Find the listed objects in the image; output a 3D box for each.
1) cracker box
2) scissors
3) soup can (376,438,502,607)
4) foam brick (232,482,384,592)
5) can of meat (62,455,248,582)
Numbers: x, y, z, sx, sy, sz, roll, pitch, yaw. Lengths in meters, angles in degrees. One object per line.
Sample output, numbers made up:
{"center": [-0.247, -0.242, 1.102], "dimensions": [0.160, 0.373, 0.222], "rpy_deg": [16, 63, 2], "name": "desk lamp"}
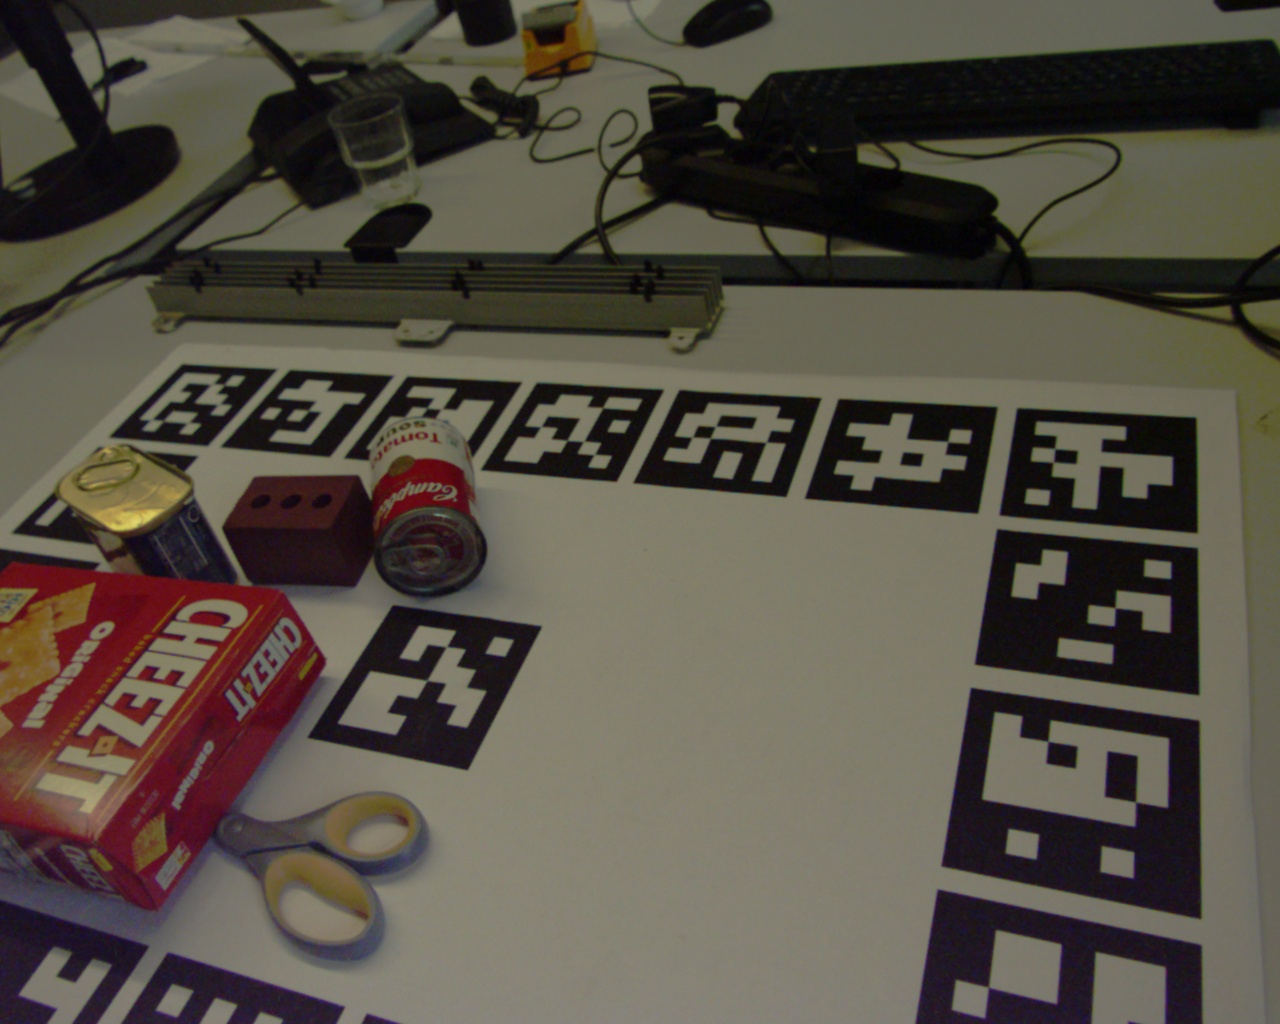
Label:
{"center": [-0.317, 0.116, 0.647], "dimensions": [0.216, 0.071, 0.164], "rpy_deg": [-2, 44, 21], "name": "cracker box"}
{"center": [-0.214, 0.173, 0.602], "dimensions": [0.204, 0.016, 0.087], "rpy_deg": [1, 46, 19], "name": "scissors"}
{"center": [-0.134, 0.005, 0.744], "dimensions": [0.068, 0.067, 0.103], "rpy_deg": [-21, 38, -6], "name": "soup can"}
{"center": [-0.218, 0.017, 0.758], "dimensions": [0.078, 0.051, 0.053], "rpy_deg": [-2, 45, 14], "name": "foam brick"}
{"center": [-0.321, 0.018, 0.761], "dimensions": [0.103, 0.083, 0.057], "rpy_deg": [17, 52, 30], "name": "can of meat"}
